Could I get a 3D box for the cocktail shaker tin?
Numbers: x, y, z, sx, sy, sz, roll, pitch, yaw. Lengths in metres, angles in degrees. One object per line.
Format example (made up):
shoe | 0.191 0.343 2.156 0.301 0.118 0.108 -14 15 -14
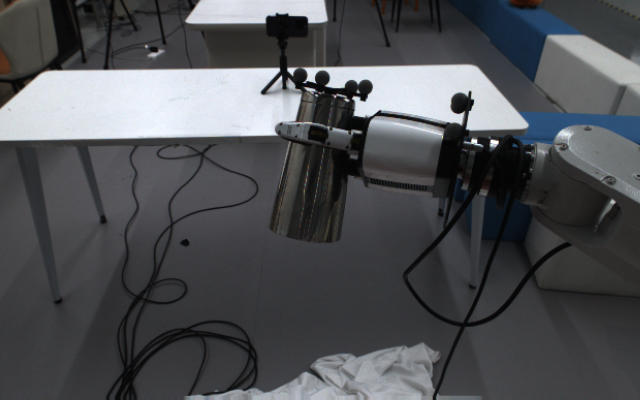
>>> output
cocktail shaker tin | -0.001 -0.044 0.597 0.093 0.170 0.093 10 9 -2
